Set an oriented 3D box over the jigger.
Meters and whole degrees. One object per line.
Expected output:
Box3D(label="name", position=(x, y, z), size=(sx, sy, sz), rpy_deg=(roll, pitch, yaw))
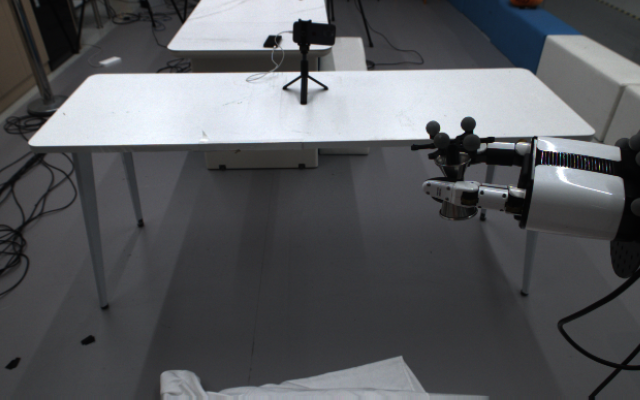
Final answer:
Box3D(label="jigger", position=(0.157, -0.019, 0.562), size=(0.043, 0.071, 0.043), rpy_deg=(-11, 23, 5))
